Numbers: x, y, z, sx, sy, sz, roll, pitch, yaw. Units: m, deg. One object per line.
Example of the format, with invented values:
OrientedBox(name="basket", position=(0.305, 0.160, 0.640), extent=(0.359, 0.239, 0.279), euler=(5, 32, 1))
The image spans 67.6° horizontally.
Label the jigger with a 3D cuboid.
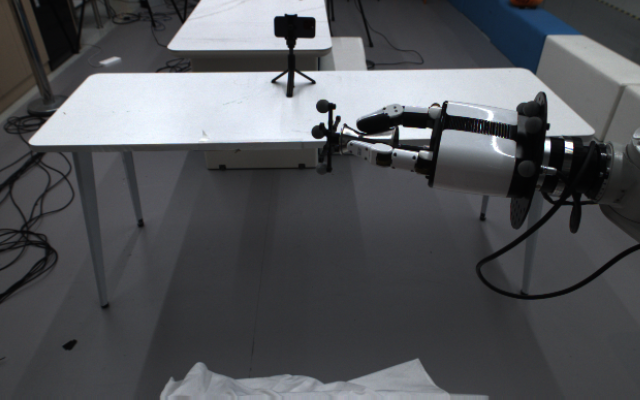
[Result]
OrientedBox(name="jigger", position=(0.068, -0.077, 0.608), extent=(0.071, 0.043, 0.043), euler=(7, 35, 16))
